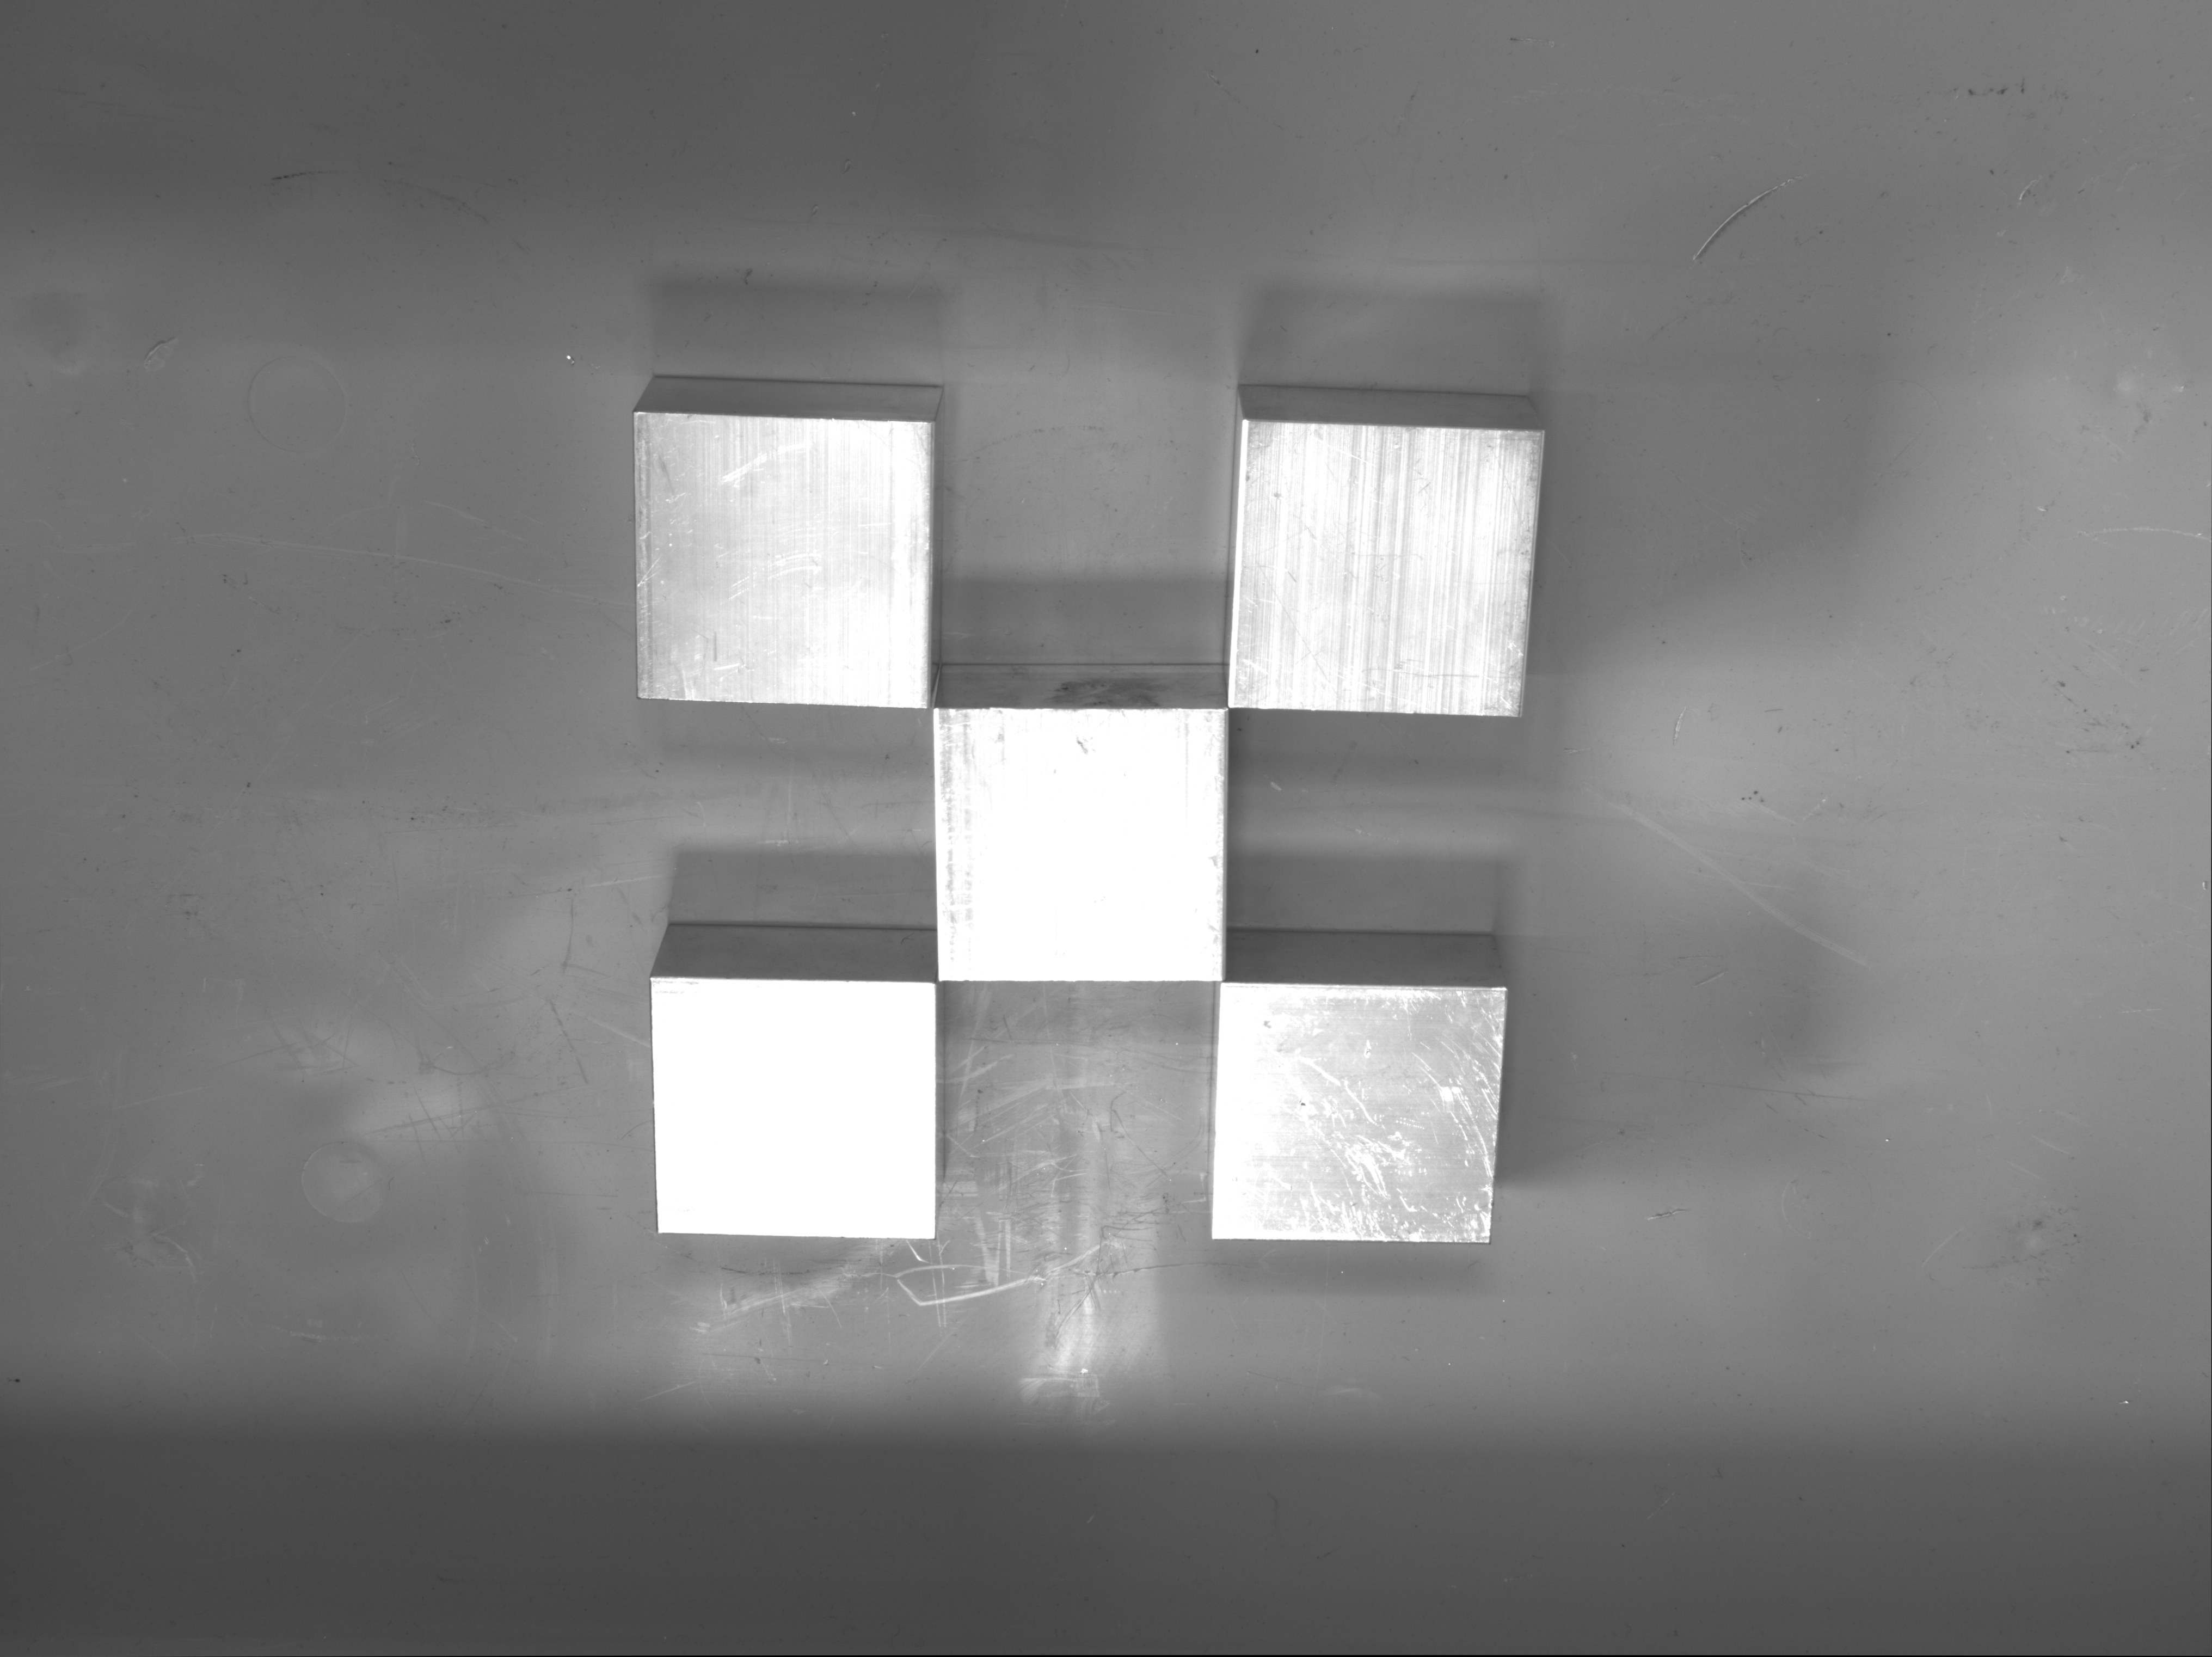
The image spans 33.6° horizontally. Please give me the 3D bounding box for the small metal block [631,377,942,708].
[{"bbox_3d":[-0.054,-0.049,0.624,0.050,0.025,0.050,1,110,-1],"label":"small metal block"}]

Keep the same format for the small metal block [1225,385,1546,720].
[{"bbox_3d":[0.047,-0.047,0.624,0.050,0.025,0.050,2,110,-1],"label":"small metal block"}]

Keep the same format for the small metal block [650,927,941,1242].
[{"bbox_3d":[-0.055,0.046,0.658,0.050,0.025,0.050,1,110,0],"label":"small metal block"}]

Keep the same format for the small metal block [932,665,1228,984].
[{"bbox_3d":[-0.005,-0.001,0.641,0.050,0.025,0.050,0,110,0],"label":"small metal block"}]

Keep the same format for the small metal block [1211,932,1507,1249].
[{"bbox_3d":[0.044,0.047,0.659,0.050,0.025,0.050,1,110,0],"label":"small metal block"}]
